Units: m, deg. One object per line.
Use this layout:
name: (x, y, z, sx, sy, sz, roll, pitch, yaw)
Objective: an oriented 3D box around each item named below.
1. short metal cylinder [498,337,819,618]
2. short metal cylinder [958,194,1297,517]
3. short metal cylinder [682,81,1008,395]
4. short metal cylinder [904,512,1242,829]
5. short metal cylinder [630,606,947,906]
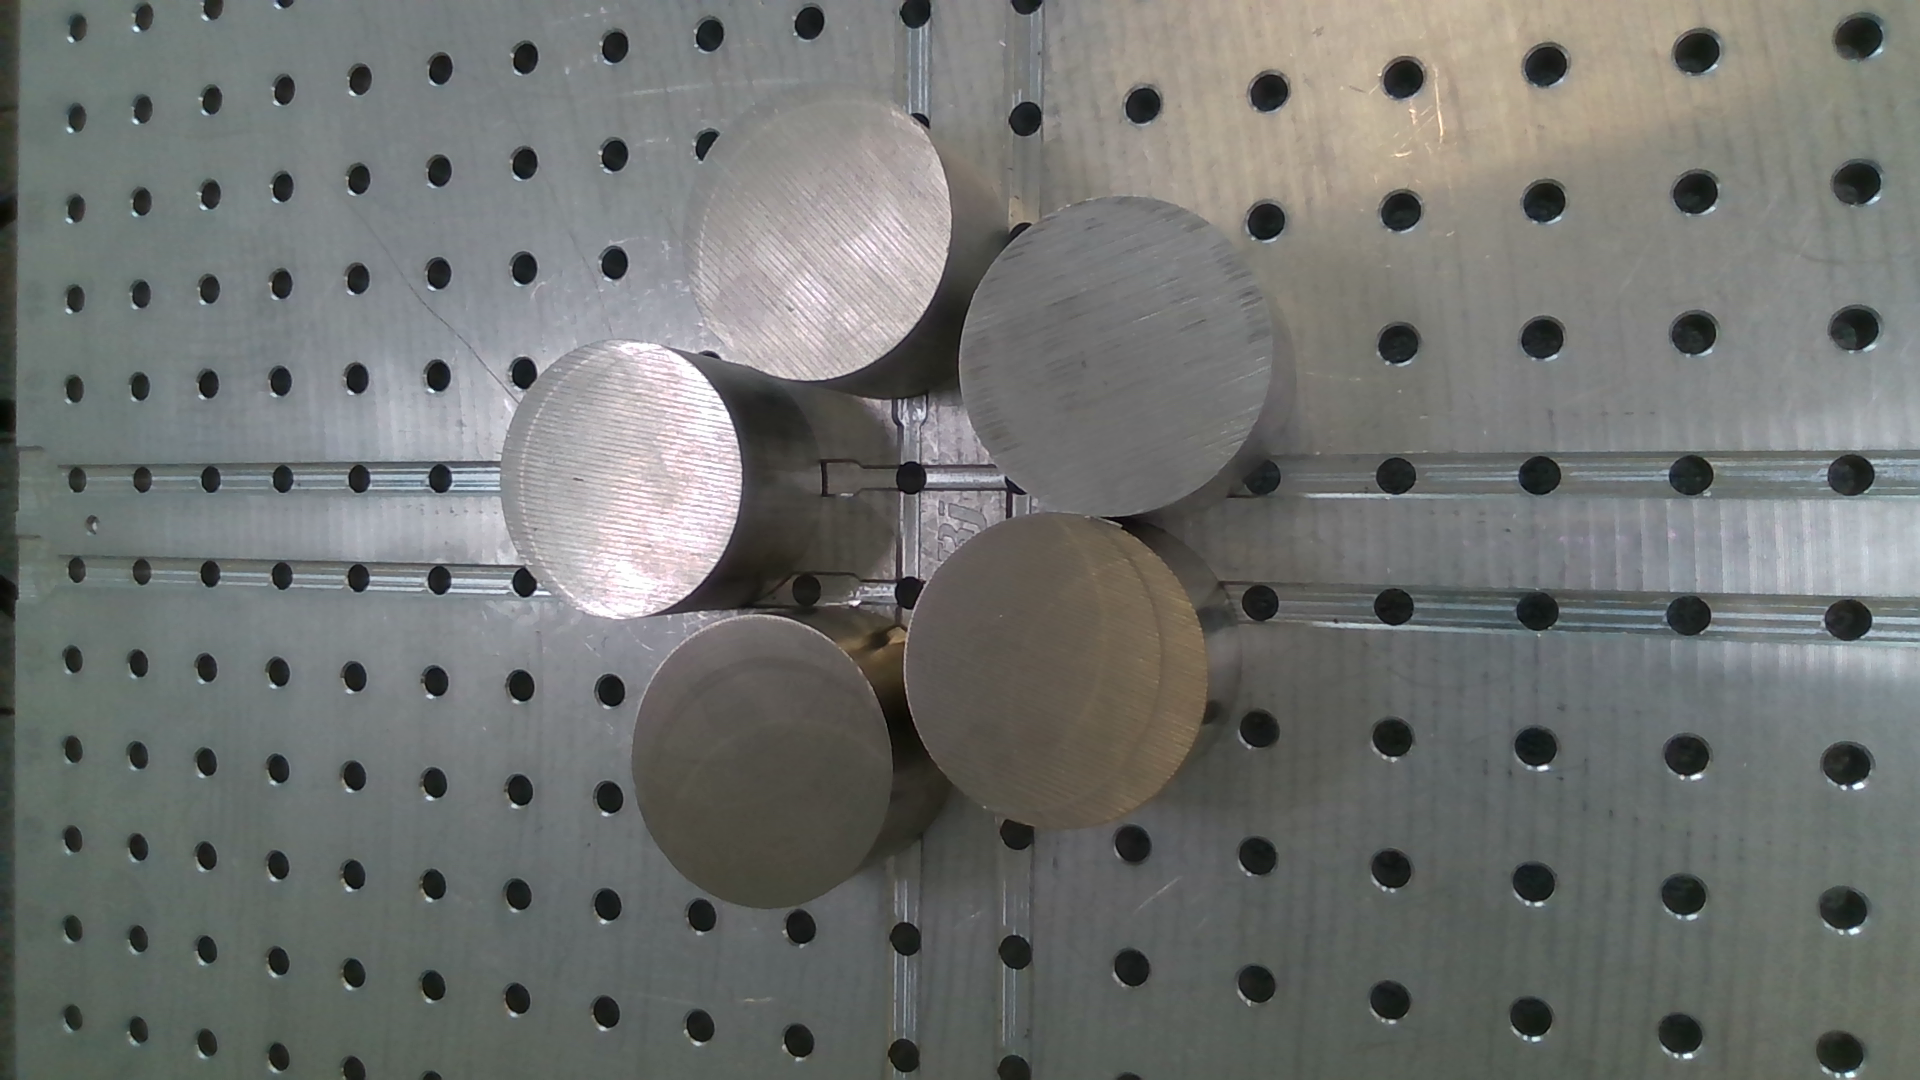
short metal cylinder: (-0.090, -0.017, 0.414, 0.080, 0.050, 0.080, 0, 90, 20)
short metal cylinder: (0.046, -0.046, 0.365, 0.080, 0.050, 0.080, 0, 91, 20)
short metal cylinder: (-0.031, -0.083, 0.394, 0.080, 0.050, 0.080, 0, 90, 20)
short metal cylinder: (0.032, 0.033, 0.370, 0.080, 0.050, 0.080, 0, 90, 20)
short metal cylinder: (-0.047, 0.060, 0.400, 0.080, 0.050, 0.080, 0, 91, 21)
